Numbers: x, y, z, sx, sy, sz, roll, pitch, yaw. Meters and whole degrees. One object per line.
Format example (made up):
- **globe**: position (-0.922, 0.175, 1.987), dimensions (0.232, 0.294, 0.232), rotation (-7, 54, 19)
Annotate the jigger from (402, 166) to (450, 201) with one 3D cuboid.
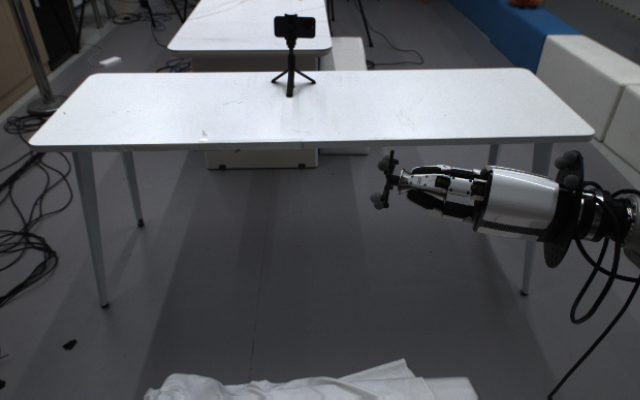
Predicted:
- **jigger**: position (0.155, -0.026, 0.696), dimensions (0.071, 0.043, 0.043), rotation (10, 35, 15)
